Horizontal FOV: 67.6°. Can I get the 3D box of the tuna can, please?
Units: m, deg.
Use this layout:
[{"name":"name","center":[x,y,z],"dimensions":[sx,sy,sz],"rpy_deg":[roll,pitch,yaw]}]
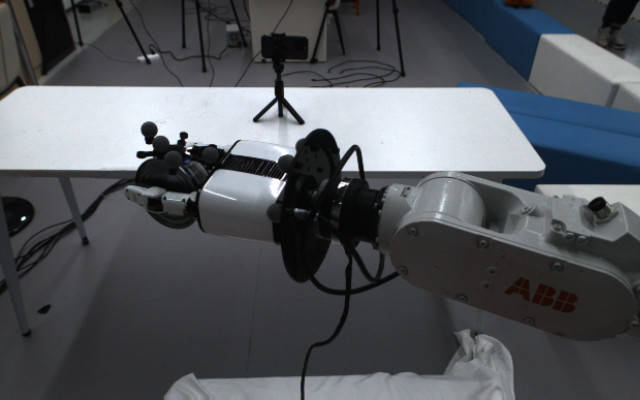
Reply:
[{"name":"tuna can","center":[-0.160,-0.013,0.545],"dimensions":[0.085,0.085,0.034],"rpy_deg":[16,28,19]}]
